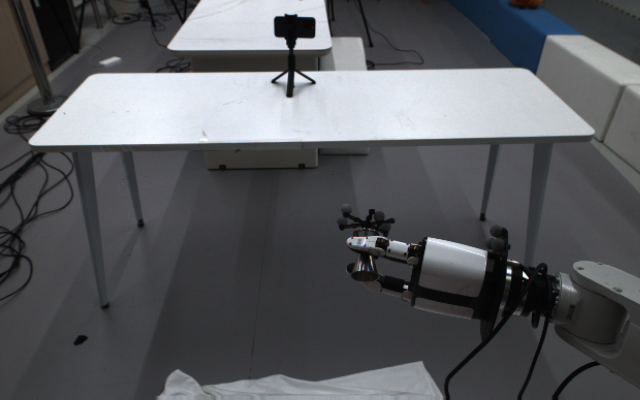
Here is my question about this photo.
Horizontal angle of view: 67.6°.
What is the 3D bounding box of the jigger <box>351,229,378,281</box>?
[{"bbox_3d":[0.066,0.078,0.709,0.043,0.043,0.071,4,60,3],"label":"jigger"}]
